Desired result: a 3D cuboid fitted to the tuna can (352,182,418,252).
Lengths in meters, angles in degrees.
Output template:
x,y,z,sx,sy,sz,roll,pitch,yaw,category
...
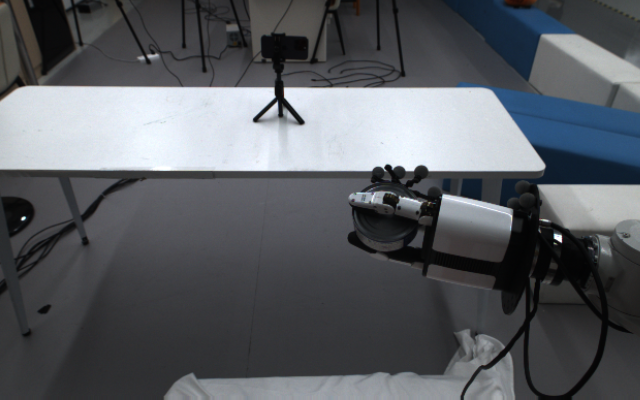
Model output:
x,y,z,sx,sy,sz,roll,pitch,yaw,category
0.085,0.018,0.614,0.085,0.034,0.085,-4,56,6,tuna can
